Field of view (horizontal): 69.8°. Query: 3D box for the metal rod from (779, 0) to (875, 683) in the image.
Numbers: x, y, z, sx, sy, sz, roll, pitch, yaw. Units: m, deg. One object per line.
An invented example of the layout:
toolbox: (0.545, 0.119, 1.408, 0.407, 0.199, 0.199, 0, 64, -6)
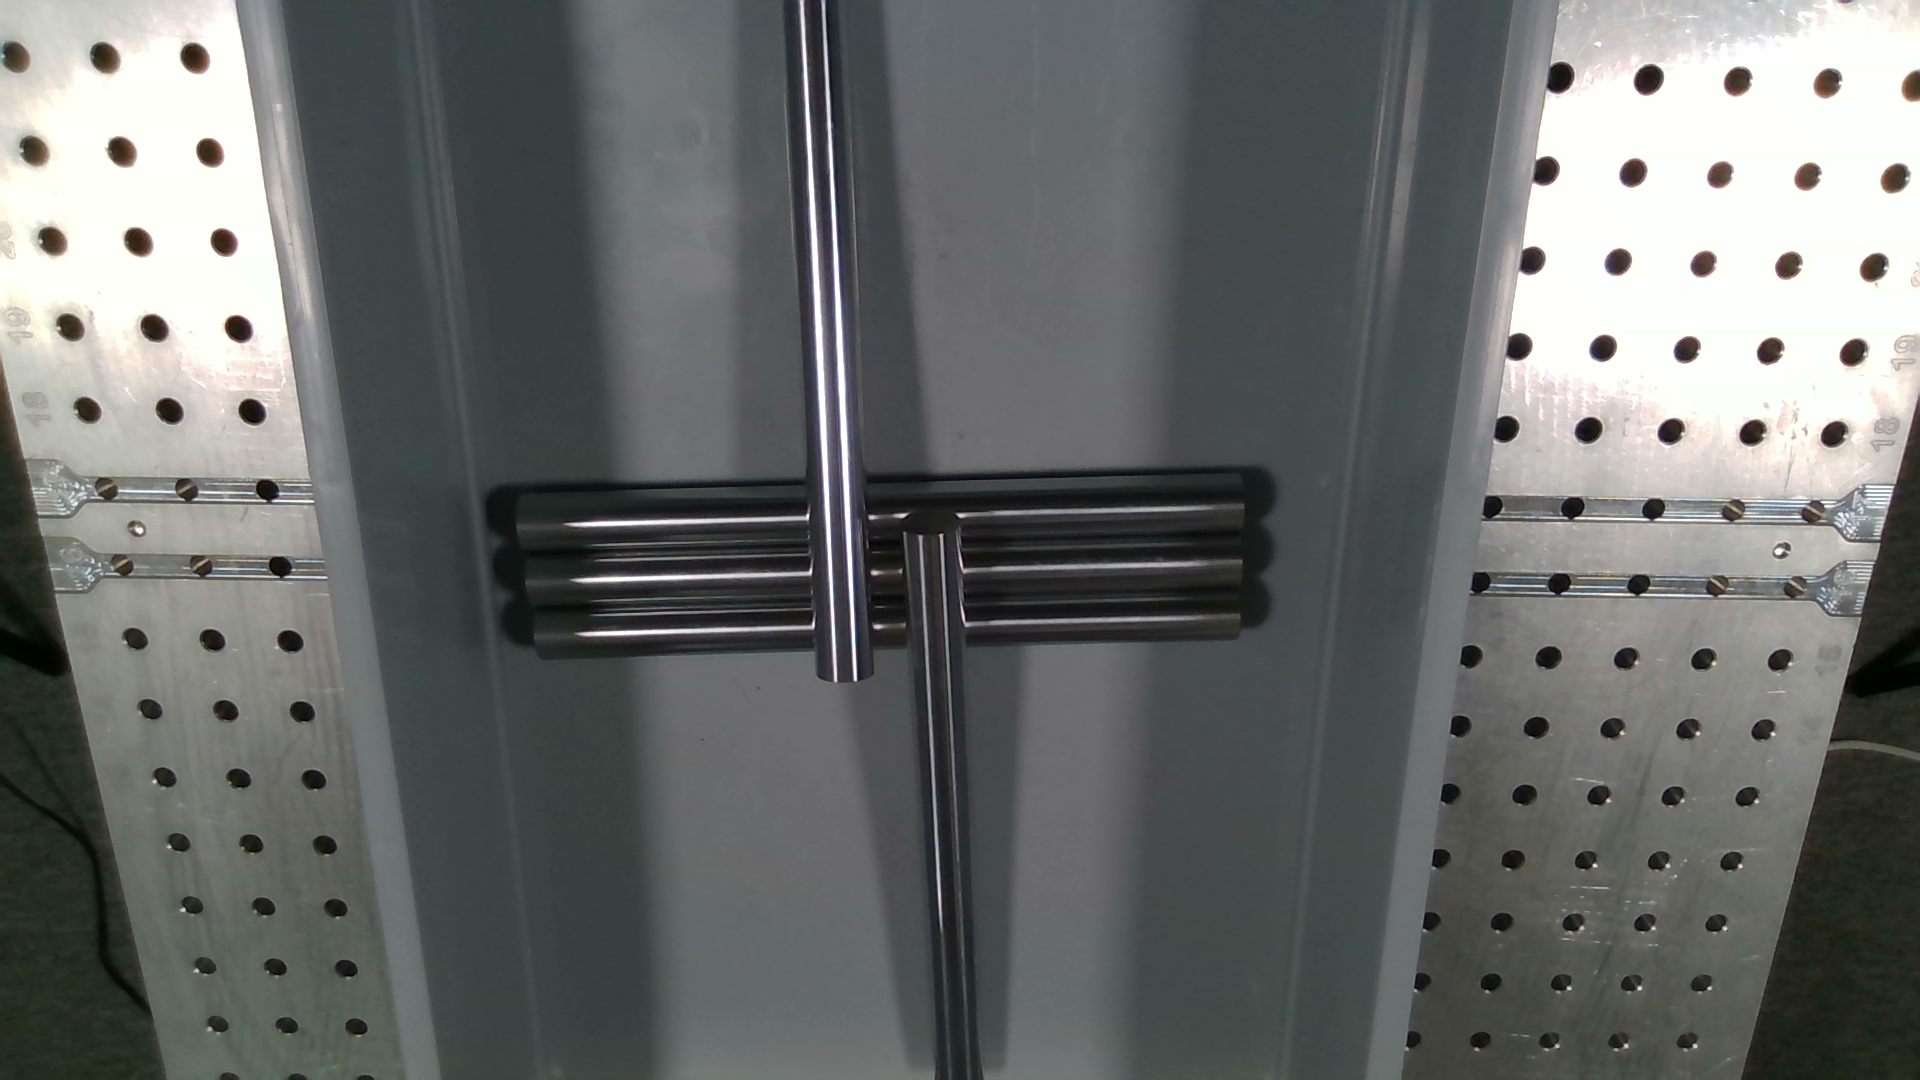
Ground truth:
metal rod: (-0.051, -0.091, 0.533, 0.025, 0.025, 0.300, -1, 104, 1)

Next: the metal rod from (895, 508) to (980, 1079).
metal rod: (-0.007, 0.127, 0.612, 0.025, 0.025, 0.301, -2, 117, 1)

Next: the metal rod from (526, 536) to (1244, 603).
metal rod: (-0.032, 0.011, 0.588, 0.300, 0.025, 0.025, -1, 110, 1)

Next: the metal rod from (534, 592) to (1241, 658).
metal rod: (-0.031, 0.035, 0.597, 0.300, 0.025, 0.025, -1, 110, 1)

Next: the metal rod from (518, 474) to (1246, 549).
metal rod: (-0.032, -0.012, 0.579, 0.300, 0.025, 0.025, -1, 110, 1)
